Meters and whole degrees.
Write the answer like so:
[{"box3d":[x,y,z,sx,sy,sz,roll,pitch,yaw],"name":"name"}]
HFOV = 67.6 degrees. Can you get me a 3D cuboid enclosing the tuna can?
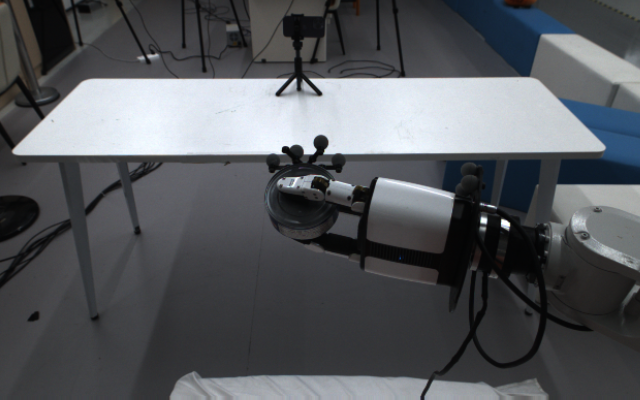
[{"box3d":[-0.017,0.006,0.555,0.085,0.034,0.085,-1,59,2],"name":"tuna can"}]
